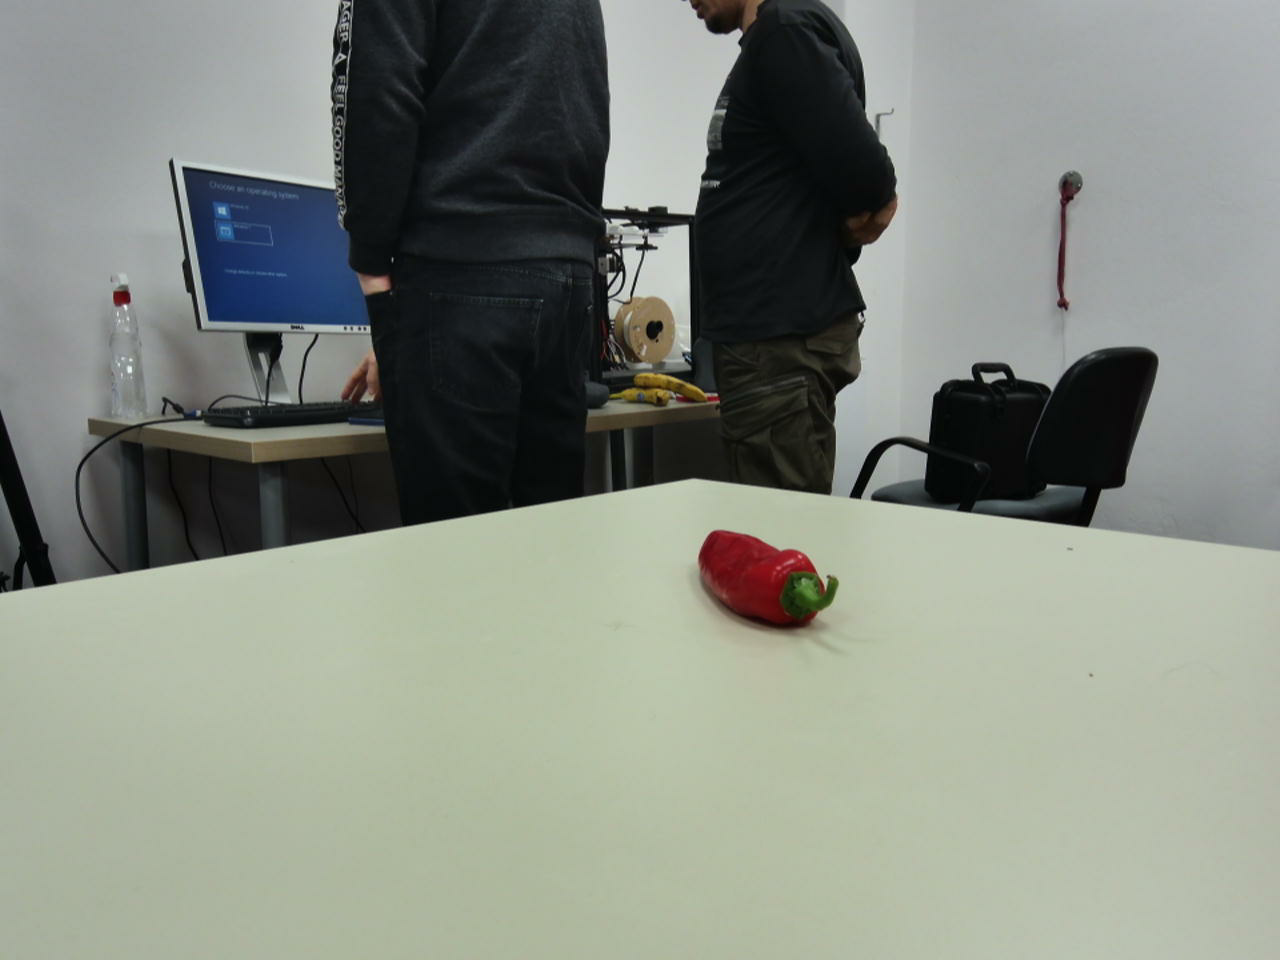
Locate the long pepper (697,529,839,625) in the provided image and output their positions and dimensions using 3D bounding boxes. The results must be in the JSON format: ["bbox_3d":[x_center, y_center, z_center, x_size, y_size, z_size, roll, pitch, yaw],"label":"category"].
[{"bbox_3d":[0.070,0.055,0.620,0.050,0.043,0.211,-1,7,-11],"label":"long pepper"}]
